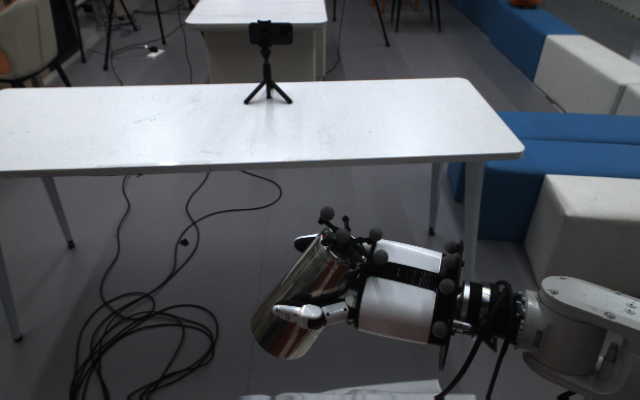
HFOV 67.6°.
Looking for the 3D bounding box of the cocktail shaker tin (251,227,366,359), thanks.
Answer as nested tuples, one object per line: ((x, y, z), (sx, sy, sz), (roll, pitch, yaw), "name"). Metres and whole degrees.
((-0.012, 0.111, 0.618), (0.093, 0.170, 0.093), (26, 32, -18), "cocktail shaker tin")
